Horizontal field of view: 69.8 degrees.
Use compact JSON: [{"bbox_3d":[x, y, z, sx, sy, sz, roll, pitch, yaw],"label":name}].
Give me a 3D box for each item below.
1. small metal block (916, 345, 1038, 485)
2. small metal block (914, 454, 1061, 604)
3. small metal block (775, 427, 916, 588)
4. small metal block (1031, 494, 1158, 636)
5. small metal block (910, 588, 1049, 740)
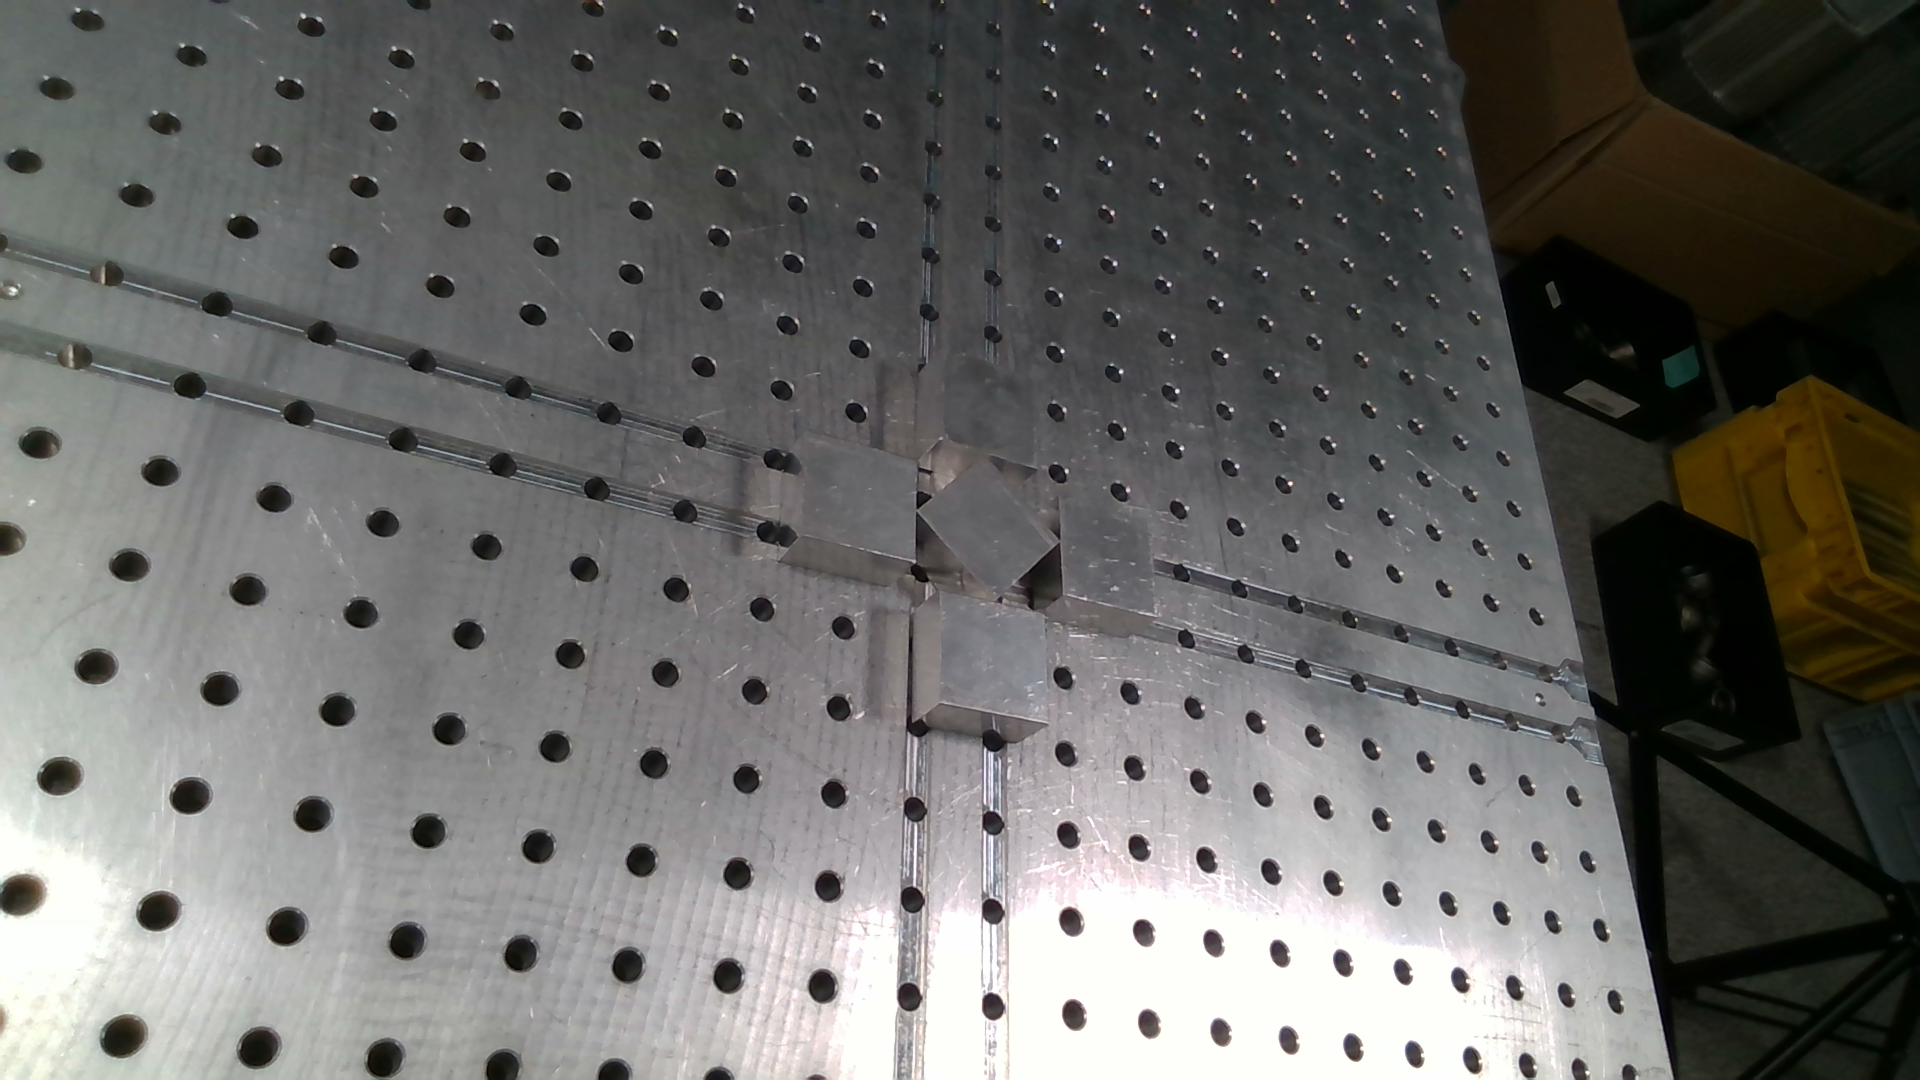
[{"bbox_3d":[0.007,-0.054,0.622,0.050,0.025,0.050,16,58,-24],"label":"small metal block"},{"bbox_3d":[0.007,-0.001,0.593,0.050,0.025,0.050,49,51,0],"label":"small metal block"},{"bbox_3d":[-0.046,-0.013,0.567,0.050,0.025,0.050,15,59,-25],"label":"small metal block"},{"bbox_3d":[0.060,0.012,0.619,0.050,0.025,0.050,14,59,-25],"label":"small metal block"},{"bbox_3d":[0.008,0.052,0.566,0.050,0.025,0.050,14,59,-25],"label":"small metal block"}]
